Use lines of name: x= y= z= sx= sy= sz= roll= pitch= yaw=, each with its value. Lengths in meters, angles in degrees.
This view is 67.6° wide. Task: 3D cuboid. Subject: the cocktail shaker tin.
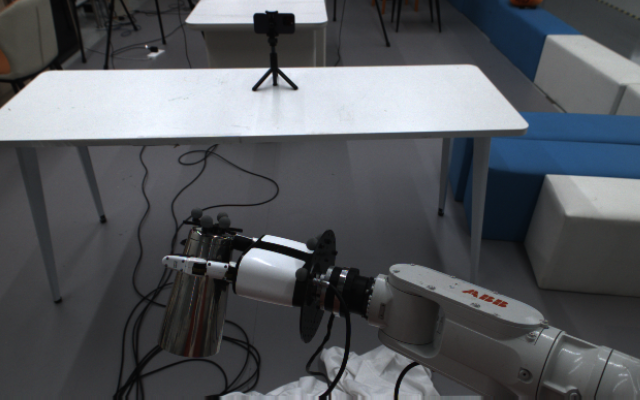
cocktail shaker tin: x=-0.173 y=0.128 z=0.709 sx=0.093 sy=0.170 sz=0.093 roll=13 pitch=3 yaw=-1
